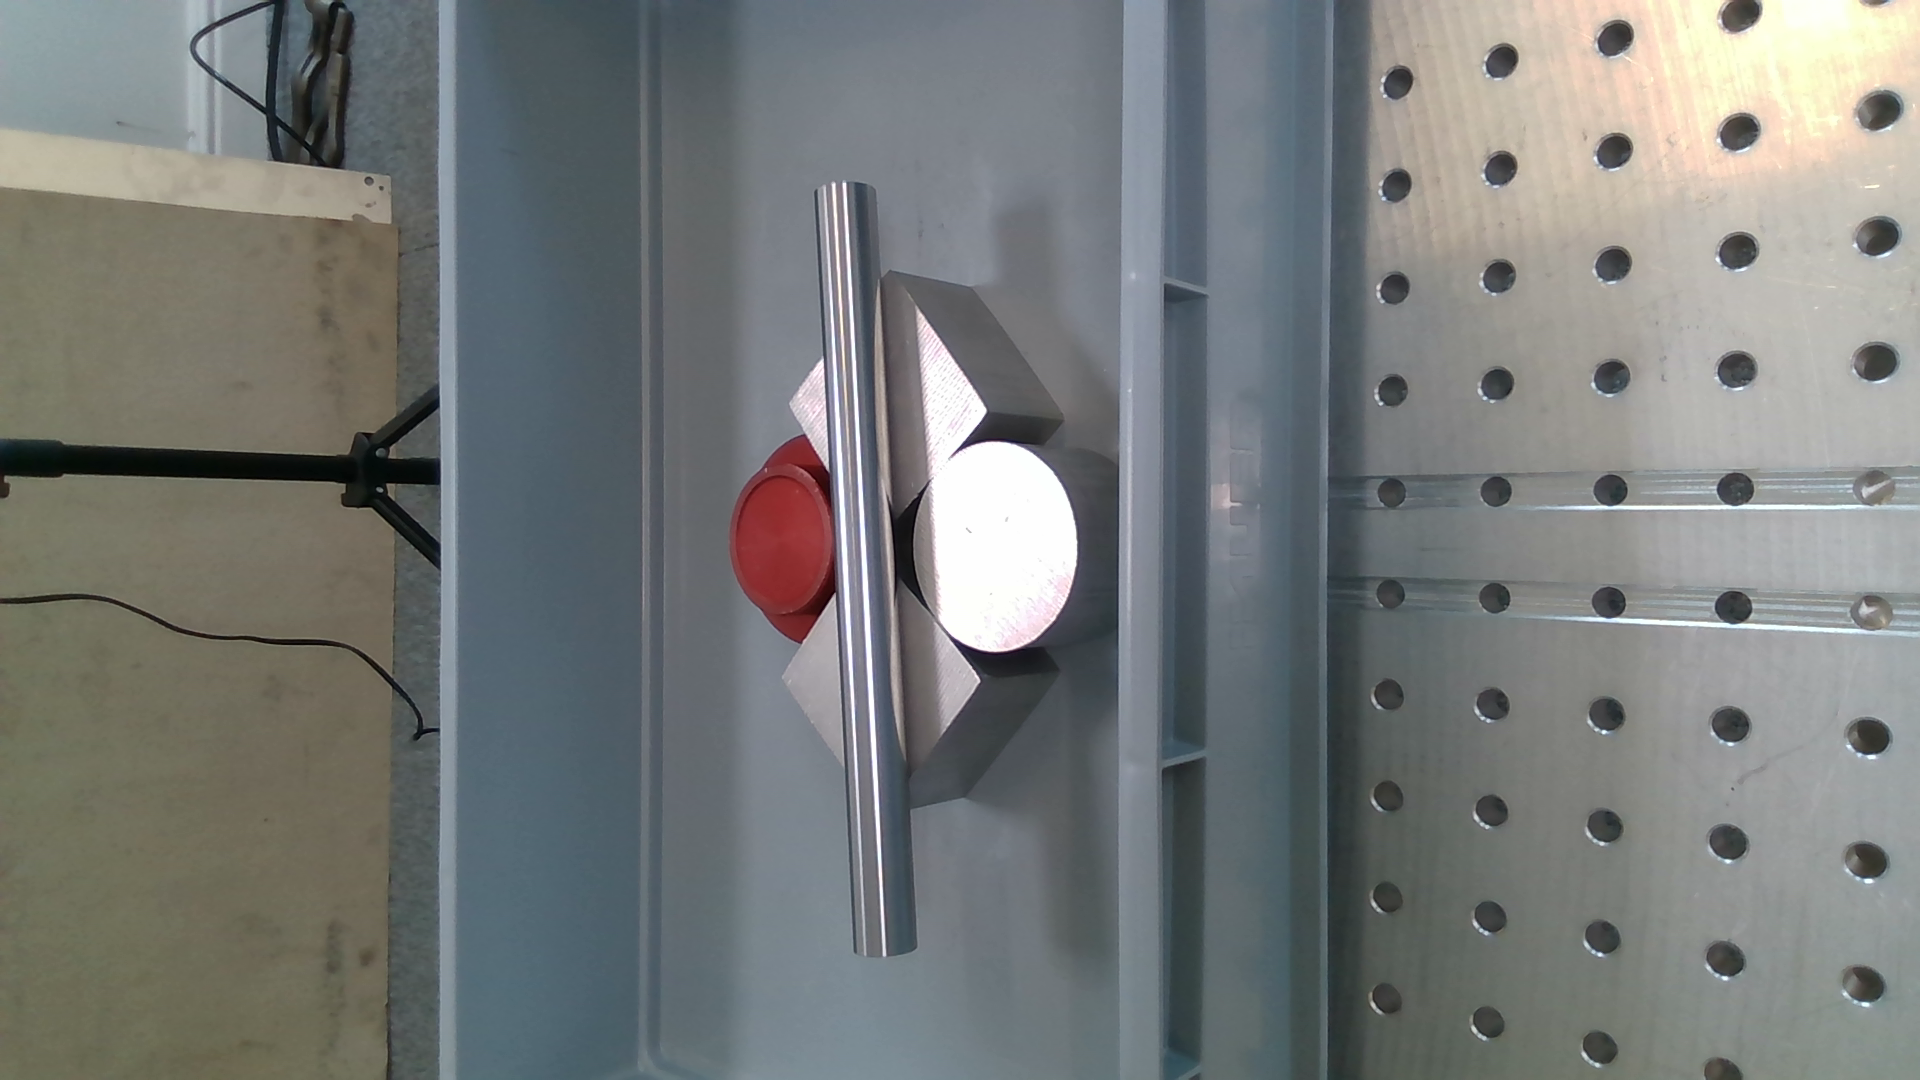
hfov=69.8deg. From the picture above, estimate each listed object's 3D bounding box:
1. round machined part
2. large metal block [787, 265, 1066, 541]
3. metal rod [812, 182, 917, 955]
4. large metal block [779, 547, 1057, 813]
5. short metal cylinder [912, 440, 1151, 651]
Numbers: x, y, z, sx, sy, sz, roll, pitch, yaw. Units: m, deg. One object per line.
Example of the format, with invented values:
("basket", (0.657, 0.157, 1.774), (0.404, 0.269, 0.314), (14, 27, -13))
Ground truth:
("round machined part", (-0.068, 0.000, 0.627), (0.098, 0.042, 0.098), (0, 91, 40))
("large metal block", (-0.016, -0.055, 0.577), (0.080, 0.050, 0.080), (-48, 62, 32))
("metal rod", (-0.038, 0.010, 0.545), (0.025, 0.025, 0.300), (-6, 86, 40))
("large metal block", (-0.019, 0.057, 0.578), (0.080, 0.050, 0.080), (50, 120, 29))
("short metal cylinder", (0.028, 0.002, 0.541), (0.080, 0.050, 0.080), (0, 91, 40))
